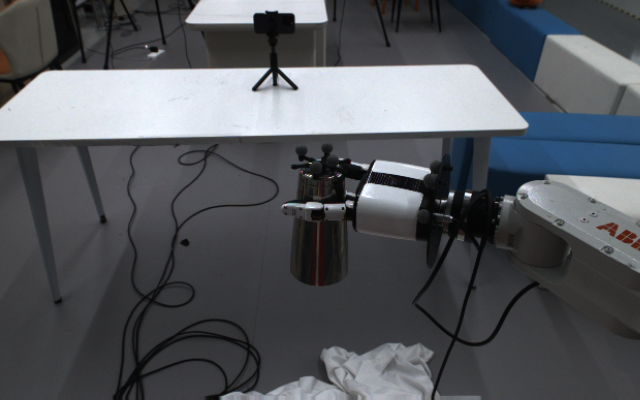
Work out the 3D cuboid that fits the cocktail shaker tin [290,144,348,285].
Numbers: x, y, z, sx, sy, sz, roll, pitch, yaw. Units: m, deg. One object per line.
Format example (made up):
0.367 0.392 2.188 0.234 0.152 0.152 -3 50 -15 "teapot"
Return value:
0.003 0.029 0.728 0.093 0.170 0.093 1 27 -1 "cocktail shaker tin"
